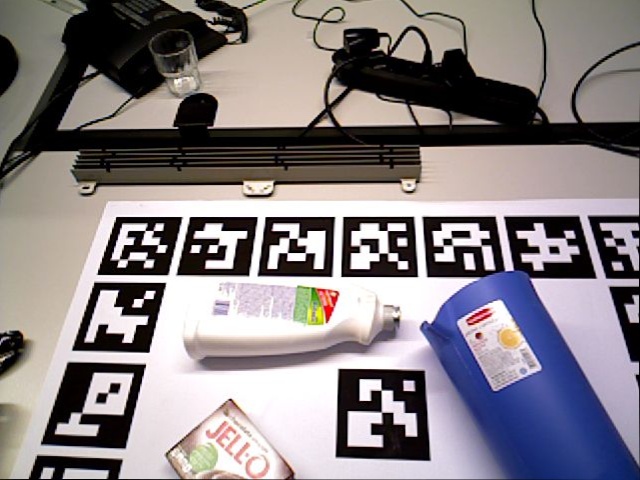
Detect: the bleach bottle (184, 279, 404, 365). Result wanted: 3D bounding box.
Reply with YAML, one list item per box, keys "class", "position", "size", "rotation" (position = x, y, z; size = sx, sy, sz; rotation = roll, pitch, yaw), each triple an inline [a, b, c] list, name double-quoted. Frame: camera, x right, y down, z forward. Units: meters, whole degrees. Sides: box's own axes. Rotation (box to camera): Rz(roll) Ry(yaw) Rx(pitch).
- class: "bleach bottle"
  position: [-0.027, 0.094, 0.643]
  size: [0.250, 0.069, 0.101]
  rotation: [-1, 60, 2]

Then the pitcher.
- class: "pitcher"
  position: [0.225, 0.175, 0.546]
  size: [0.185, 0.137, 0.241]
  rotation: [1, 53, -38]

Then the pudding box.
- class: "pudding box"
  position: [-0.095, 0.239, 0.559]
  size: [0.088, 0.039, 0.113]
  rotation: [-34, 61, -24]
